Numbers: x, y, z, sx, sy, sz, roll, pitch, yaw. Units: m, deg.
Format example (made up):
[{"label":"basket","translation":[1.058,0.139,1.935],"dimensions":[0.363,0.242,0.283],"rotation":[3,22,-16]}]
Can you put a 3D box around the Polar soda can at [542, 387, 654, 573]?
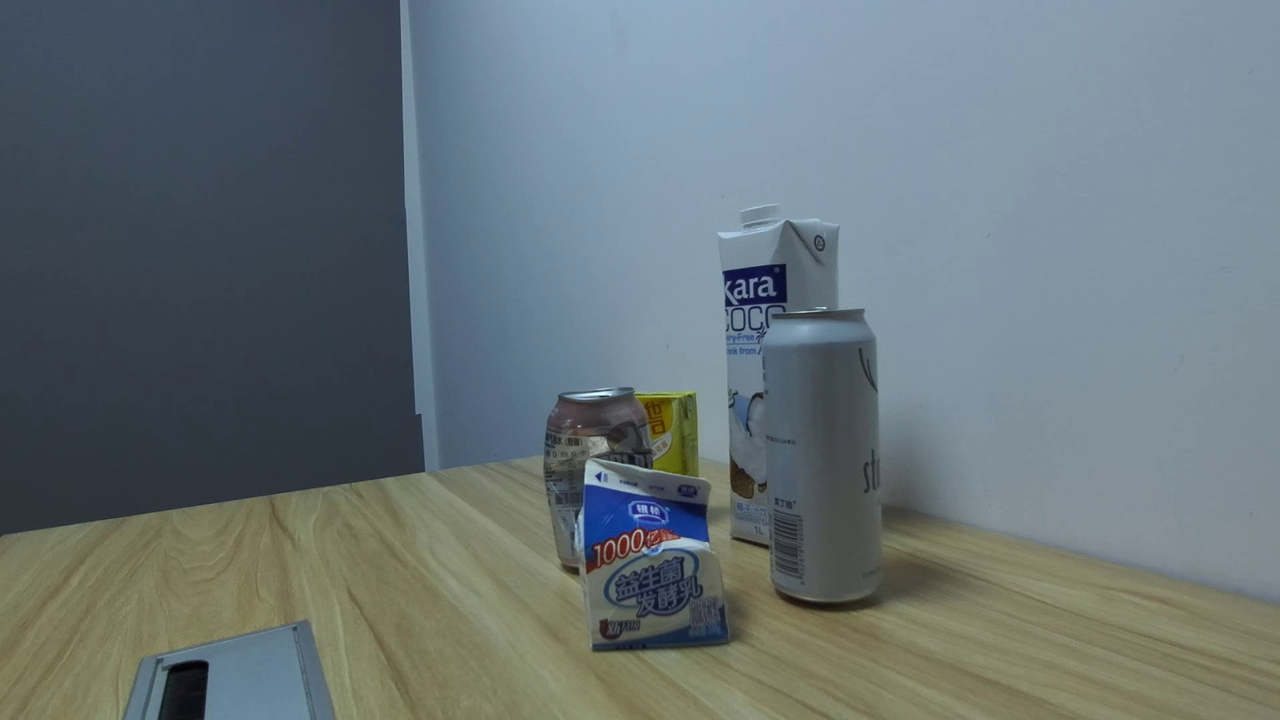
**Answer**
[{"label":"Polar soda can","translation":[-0.024,0.085,0.494],"dimensions":[0.074,0.121,0.067],"rotation":[-4,0,38]}]

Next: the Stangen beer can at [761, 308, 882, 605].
[{"label":"Stangen beer can","translation":[0.109,0.056,0.423],"dimensions":[0.067,0.171,0.067],"rotation":[-2,2,0]}]

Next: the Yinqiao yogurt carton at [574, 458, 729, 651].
[{"label":"Yinqiao yogurt carton","translation":[0.005,0.099,0.394],"dimensions":[0.083,0.093,0.077],"rotation":[-3,5,0]}]

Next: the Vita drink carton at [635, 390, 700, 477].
[{"label":"Vita drink carton","translation":[0.014,0.081,0.587],"dimensions":[0.066,0.109,0.044],"rotation":[0,2,25]}]
